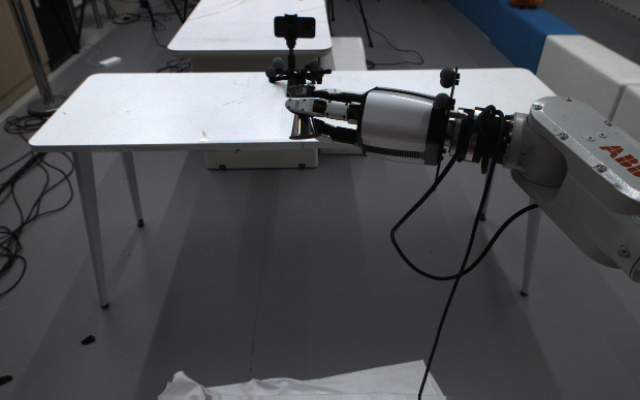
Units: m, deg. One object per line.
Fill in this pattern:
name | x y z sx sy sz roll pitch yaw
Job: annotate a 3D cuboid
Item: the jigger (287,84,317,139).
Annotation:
jigger | -0.024 -0.121 0.666 0.043 0.071 0.043 -4 1 0
